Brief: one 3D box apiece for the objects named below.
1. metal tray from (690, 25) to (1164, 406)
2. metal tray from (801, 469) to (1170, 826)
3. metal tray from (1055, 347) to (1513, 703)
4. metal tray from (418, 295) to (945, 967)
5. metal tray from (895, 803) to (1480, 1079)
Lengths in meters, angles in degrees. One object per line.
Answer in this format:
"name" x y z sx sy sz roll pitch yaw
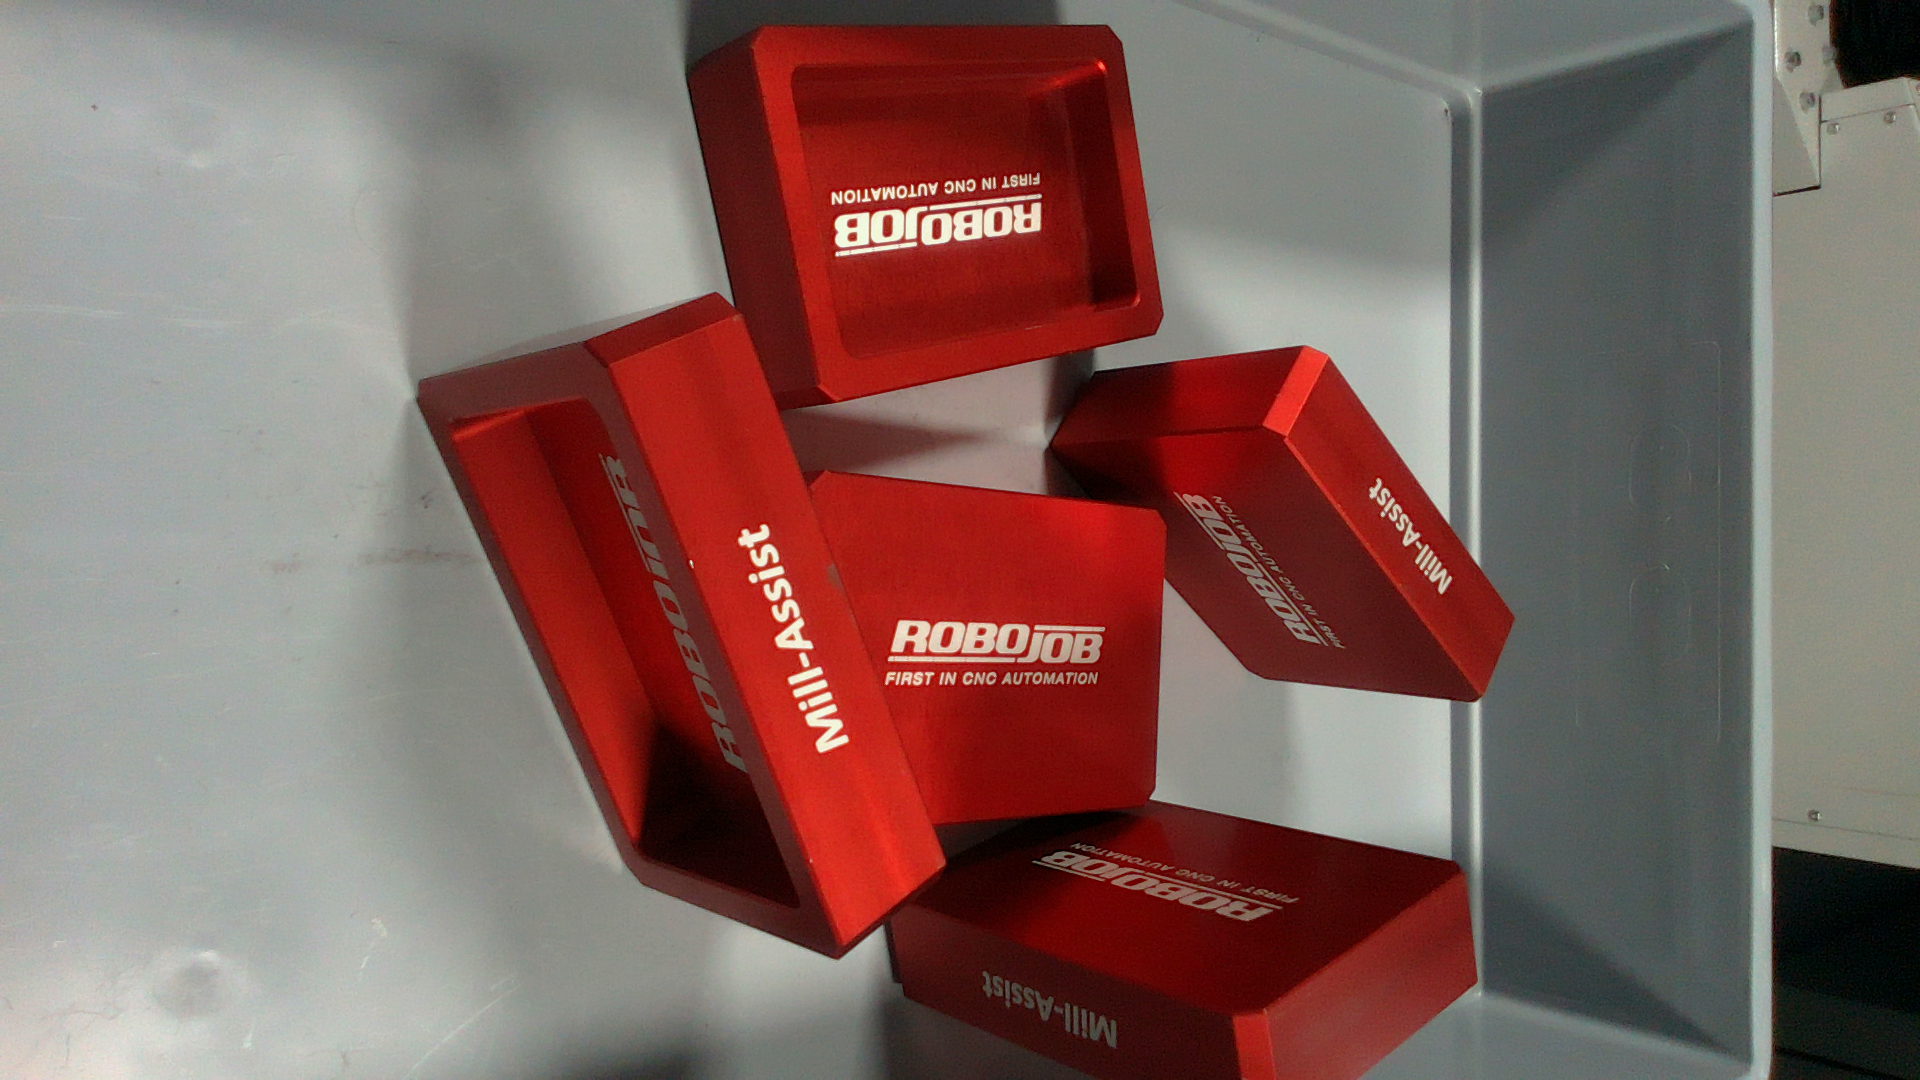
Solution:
"metal tray" -0.003 -0.092 0.381 0.131 0.030 0.090 -17 101 -39
"metal tray" 0.003 0.031 0.384 0.131 0.030 0.090 4 87 -40
"metal tray" 0.101 -0.001 0.428 0.130 0.090 0.030 45 64 -30
"metal tray" -0.061 0.020 0.294 0.030 0.090 0.130 -31 110 -36
"metal tray" 0.055 0.105 0.364 0.090 0.129 0.030 -16 101 -39
